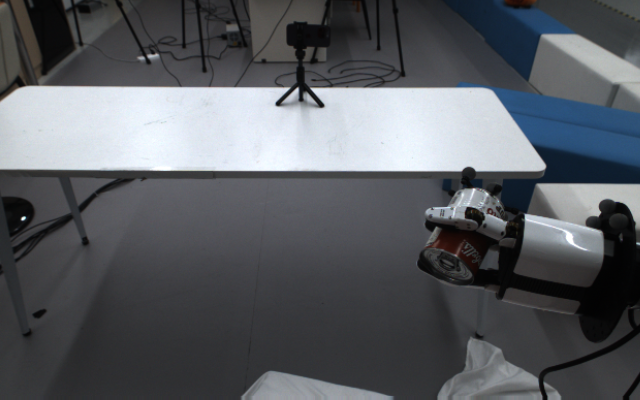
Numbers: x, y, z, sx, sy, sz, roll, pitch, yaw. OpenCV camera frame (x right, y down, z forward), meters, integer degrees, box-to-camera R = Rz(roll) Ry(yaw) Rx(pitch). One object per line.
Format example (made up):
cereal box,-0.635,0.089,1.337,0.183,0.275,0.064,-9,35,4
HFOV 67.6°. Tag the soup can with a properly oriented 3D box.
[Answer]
soup can,0.176,0.041,0.581,0.067,0.067,0.101,21,60,25
